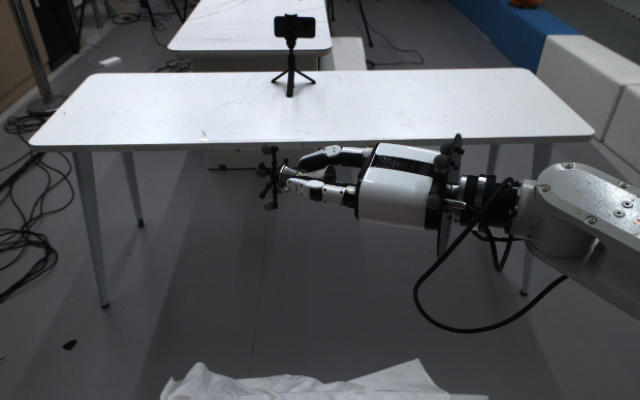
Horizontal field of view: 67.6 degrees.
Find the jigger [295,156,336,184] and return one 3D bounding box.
[{"bbox_3d":[-0.011,-0.031,0.663,0.071,0.043,0.043,4,33,22],"label":"jigger"}]
